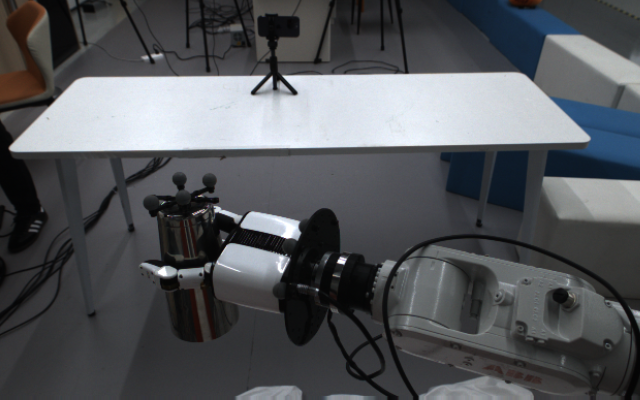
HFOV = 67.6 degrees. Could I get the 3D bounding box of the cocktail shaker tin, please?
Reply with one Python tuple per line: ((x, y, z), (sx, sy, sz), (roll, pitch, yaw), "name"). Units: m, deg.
((-0.156, 0.083, 0.614), (0.093, 0.170, 0.093), (-2, 26, 1), "cocktail shaker tin")
